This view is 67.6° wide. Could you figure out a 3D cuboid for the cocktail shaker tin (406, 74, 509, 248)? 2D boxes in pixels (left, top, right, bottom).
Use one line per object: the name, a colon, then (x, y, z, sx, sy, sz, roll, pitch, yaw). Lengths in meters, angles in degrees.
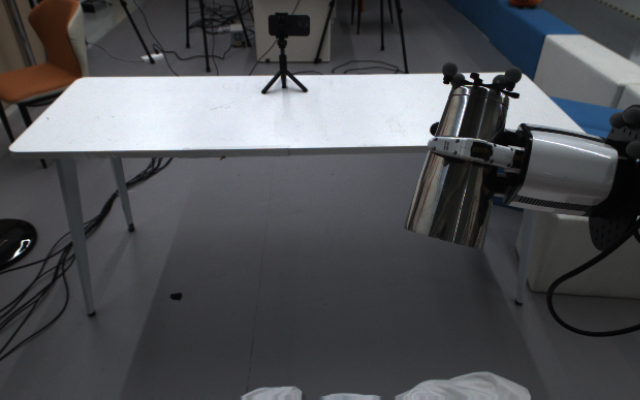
cocktail shaker tin: (0.162, -0.039, 0.555, 0.093, 0.170, 0.093, 14, 2, 0)
